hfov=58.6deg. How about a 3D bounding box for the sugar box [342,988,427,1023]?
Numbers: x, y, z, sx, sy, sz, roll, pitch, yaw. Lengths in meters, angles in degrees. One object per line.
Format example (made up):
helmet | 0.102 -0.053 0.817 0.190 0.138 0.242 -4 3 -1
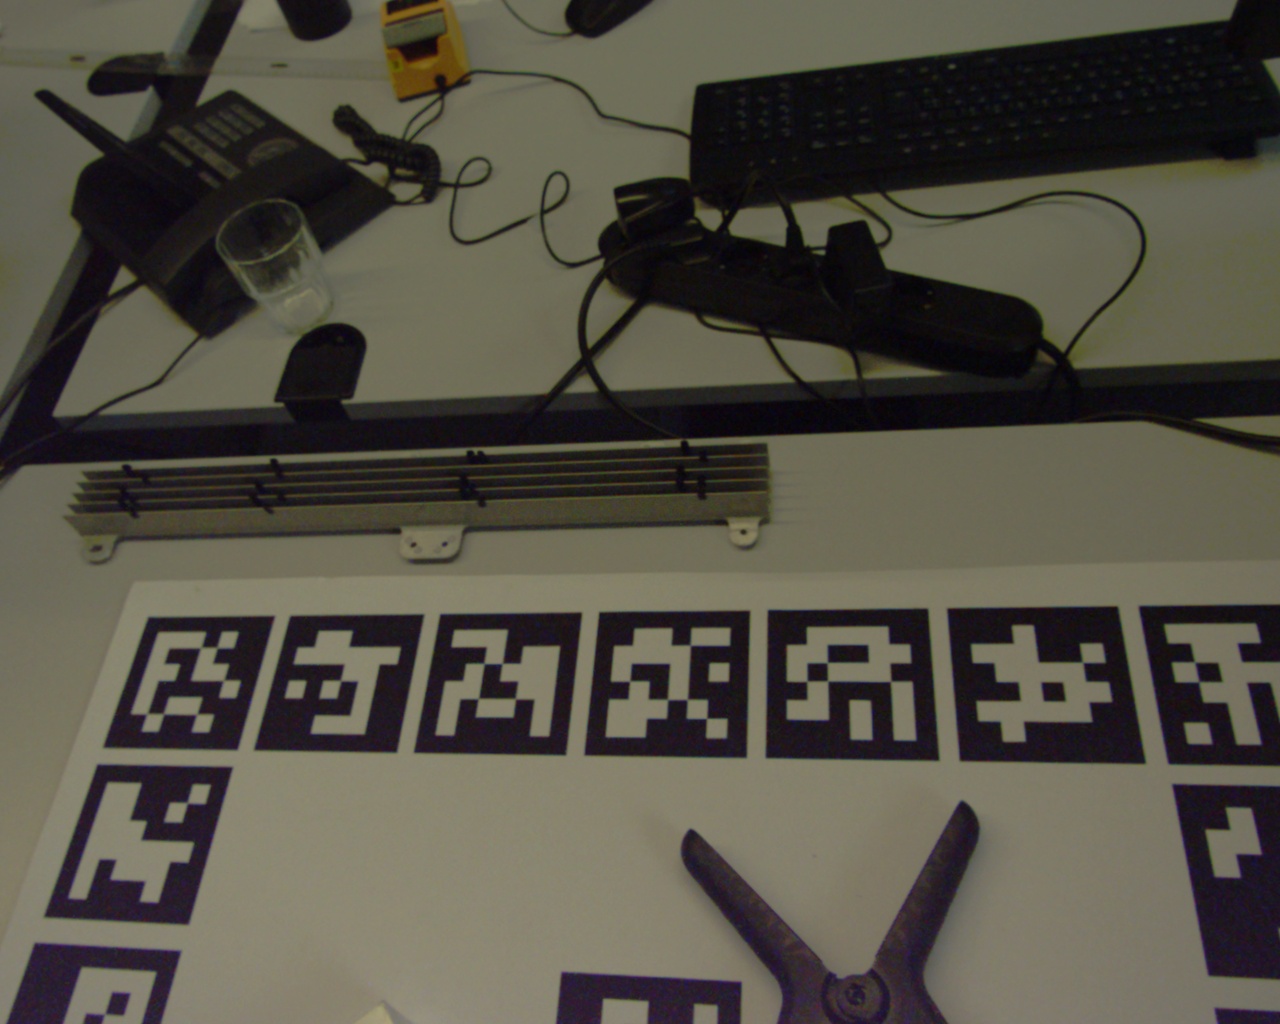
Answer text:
sugar box | -0.126 0.355 0.596 0.092 0.045 0.178 -32 51 -10

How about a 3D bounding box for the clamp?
clamp | 0.105 0.264 0.628 0.166 0.036 0.204 -10 57 5
